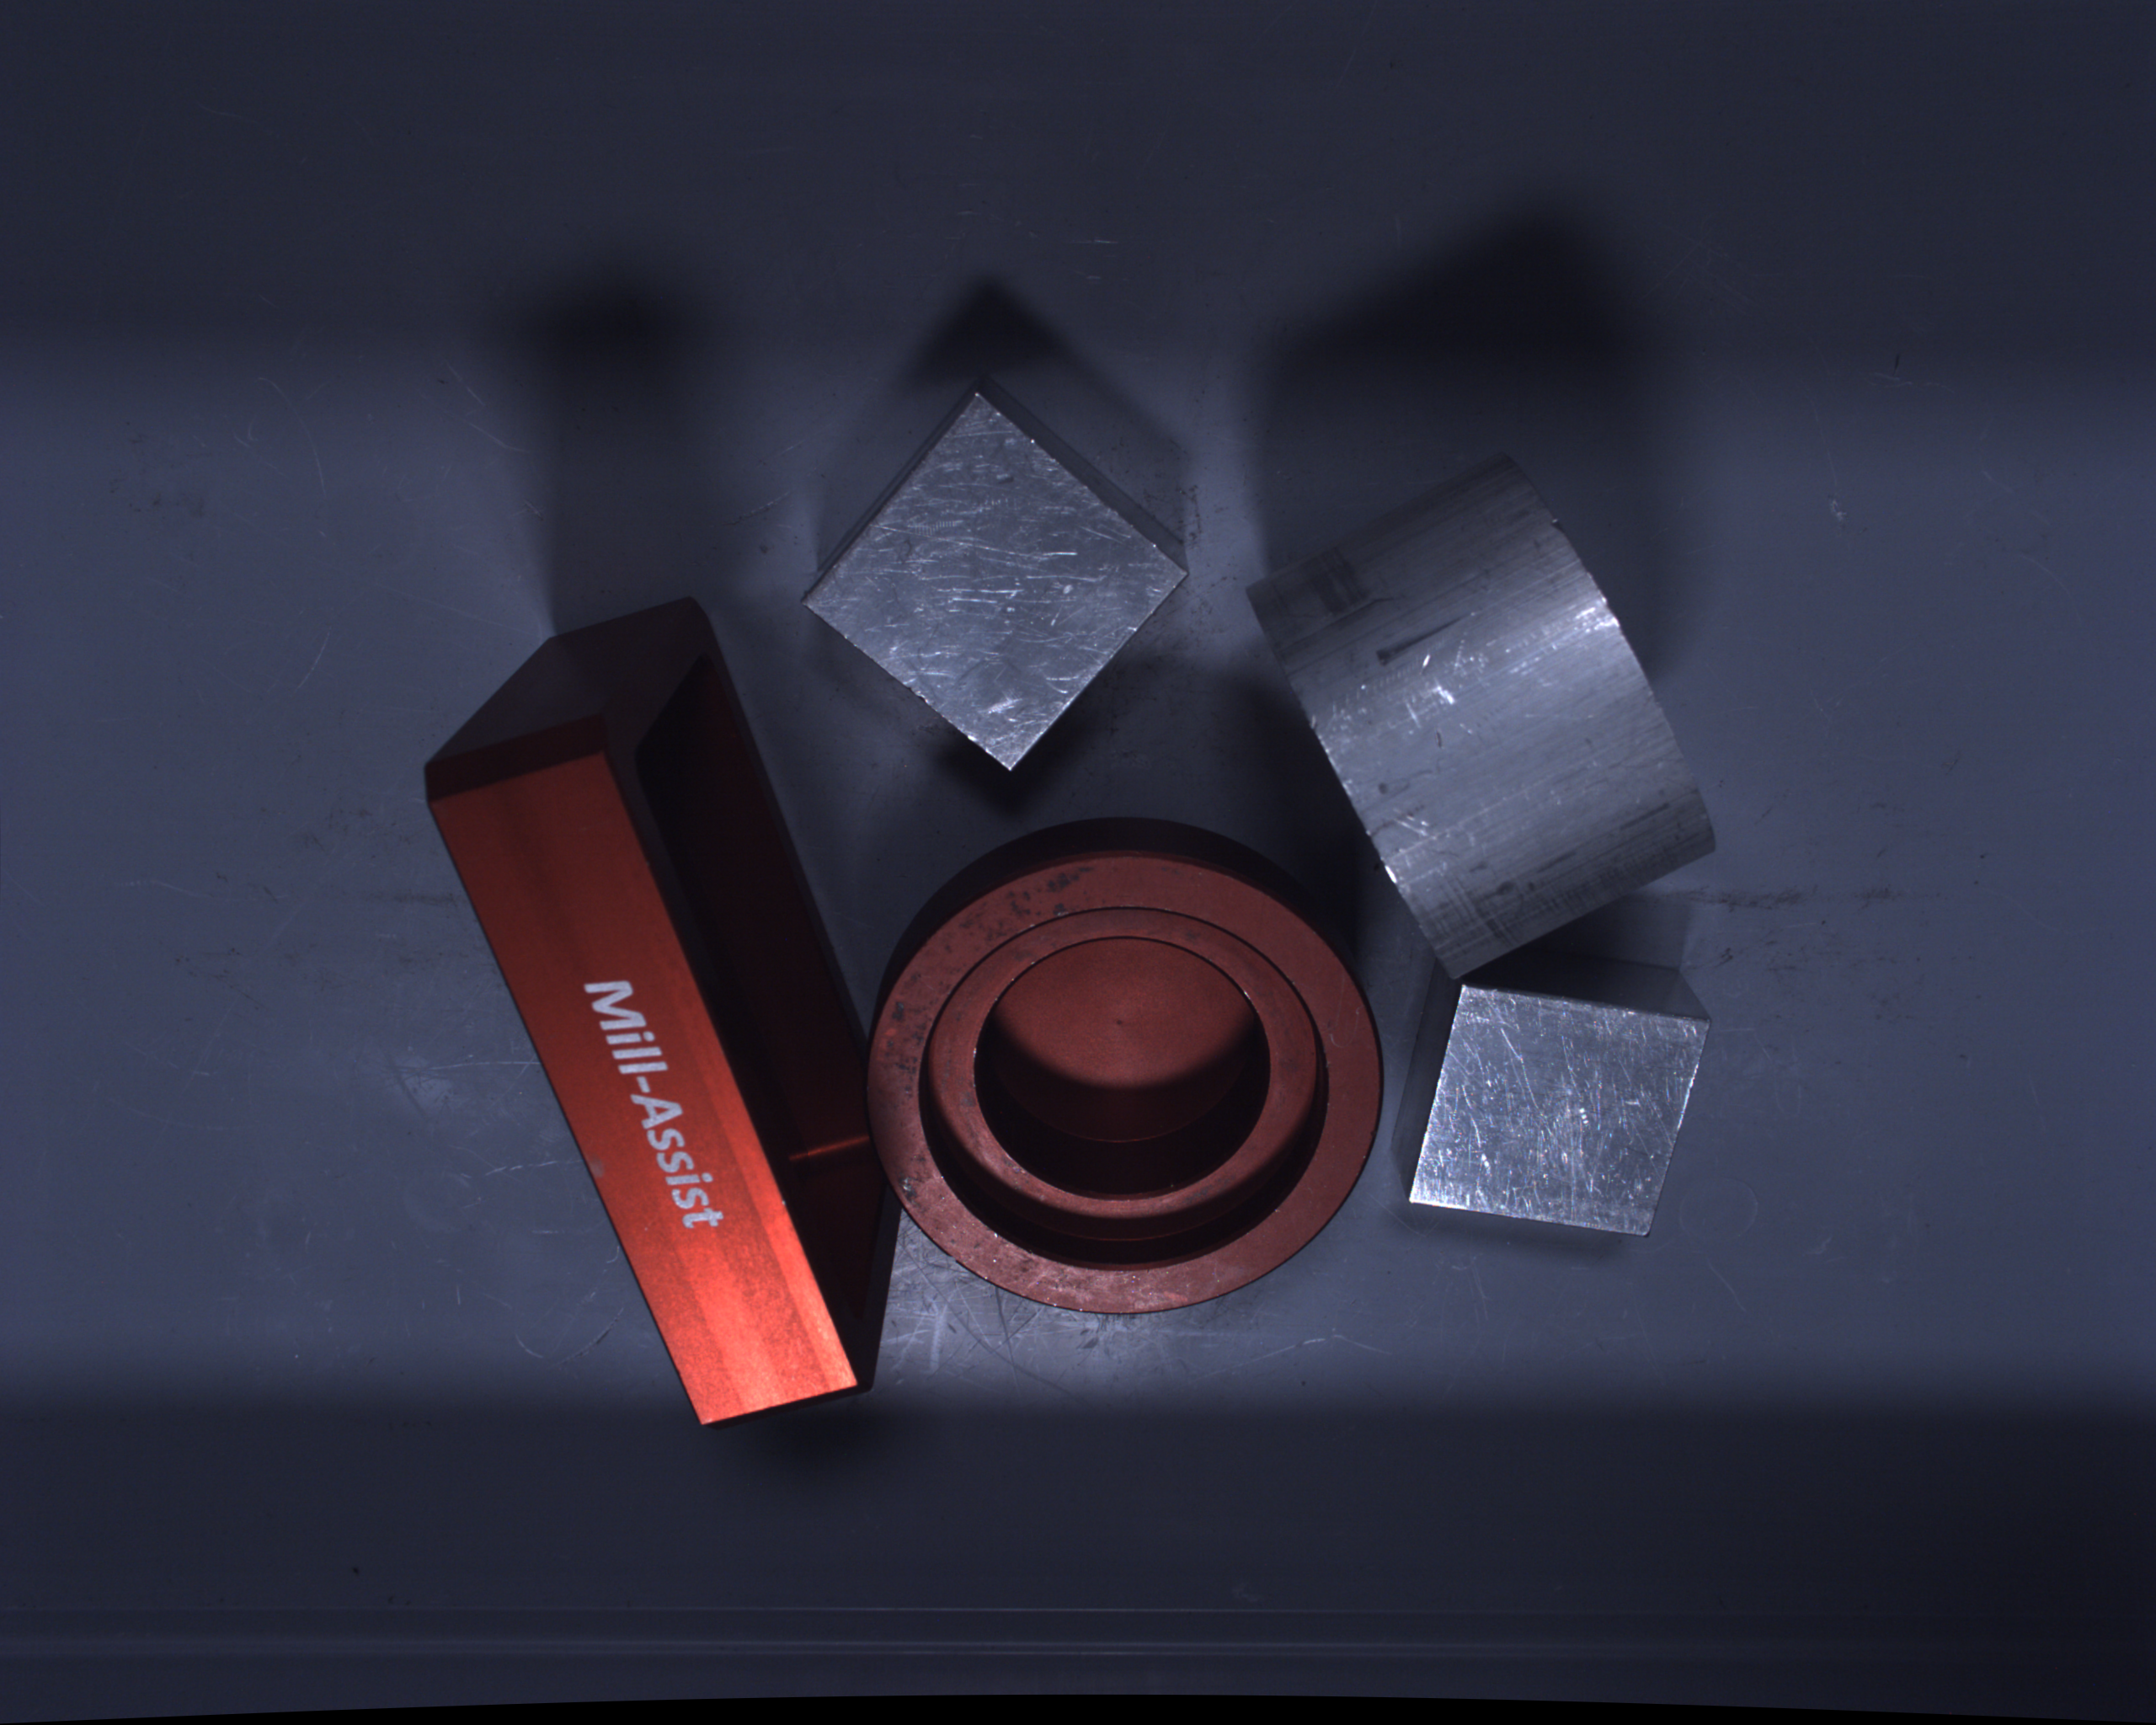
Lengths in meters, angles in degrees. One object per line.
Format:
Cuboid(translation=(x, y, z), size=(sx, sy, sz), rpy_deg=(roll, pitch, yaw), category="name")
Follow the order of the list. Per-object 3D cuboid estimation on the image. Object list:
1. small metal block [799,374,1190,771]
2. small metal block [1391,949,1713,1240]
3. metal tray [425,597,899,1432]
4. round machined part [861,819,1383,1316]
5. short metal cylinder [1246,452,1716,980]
Cuboid(translation=(-0.015, -0.054, 0.389), size=(0.050, 0.025, 0.050), rpy_deg=(39, 106, -12), category="small metal block")
Cuboid(translation=(0.096, 0.046, 0.428), size=(0.050, 0.025, 0.050), rpy_deg=(9, 109, -3), category="small metal block")
Cuboid(translation=(-0.069, 0.025, 0.383), size=(0.030, 0.090, 0.129), rpy_deg=(-16, 109, 6), category="metal tray")
Cuboid(translation=(0.008, 0.037, 0.413), size=(0.099, 0.042, 0.097), rpy_deg=(0, 110, -1), category="round machined part")
Cuboid(translation=(0.071, -0.026, 0.372), size=(0.050, 0.080, 0.080), rpy_deg=(-28, 108, 9), category="short metal cylinder")
